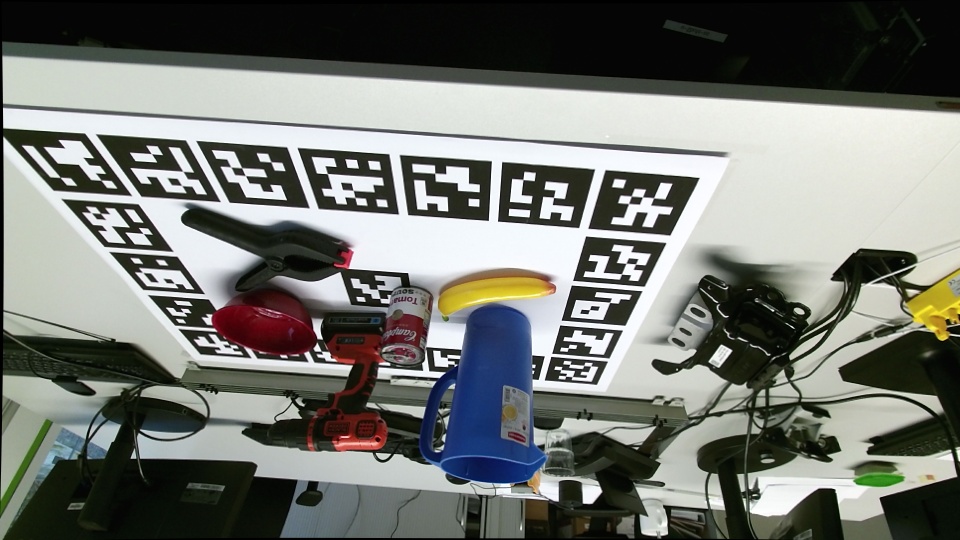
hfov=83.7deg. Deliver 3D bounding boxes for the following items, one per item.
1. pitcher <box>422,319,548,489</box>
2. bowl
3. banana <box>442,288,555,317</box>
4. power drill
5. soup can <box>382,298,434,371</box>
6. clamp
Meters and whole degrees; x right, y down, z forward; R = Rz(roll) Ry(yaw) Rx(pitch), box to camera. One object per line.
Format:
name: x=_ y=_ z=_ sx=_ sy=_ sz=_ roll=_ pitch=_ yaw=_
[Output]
pitcher: x=0.008 y=0.204 z=0.813 sx=0.189 sy=0.241 sz=0.133 roll=-12 pitch=142 yaw=20
bowl: x=-0.334 y=0.094 z=0.858 sx=0.162 sy=0.055 sz=0.162 roll=2 pitch=141 yaw=2
banana: x=0.020 y=0.054 z=0.788 sx=0.198 sy=0.038 sz=0.074 roll=-11 pitch=148 yaw=22
power drill: x=-0.232 y=0.203 z=0.851 sx=0.185 sy=0.186 sz=0.057 roll=1 pitch=142 yaw=5
soup can: x=-0.107 y=0.102 z=0.810 sx=0.068 sy=0.101 sz=0.068 roll=3 pitch=151 yaw=2
clamp: x=-0.270 y=-0.001 z=0.734 sx=0.203 sy=0.036 sz=0.165 roll=2 pitch=138 yaw=3
